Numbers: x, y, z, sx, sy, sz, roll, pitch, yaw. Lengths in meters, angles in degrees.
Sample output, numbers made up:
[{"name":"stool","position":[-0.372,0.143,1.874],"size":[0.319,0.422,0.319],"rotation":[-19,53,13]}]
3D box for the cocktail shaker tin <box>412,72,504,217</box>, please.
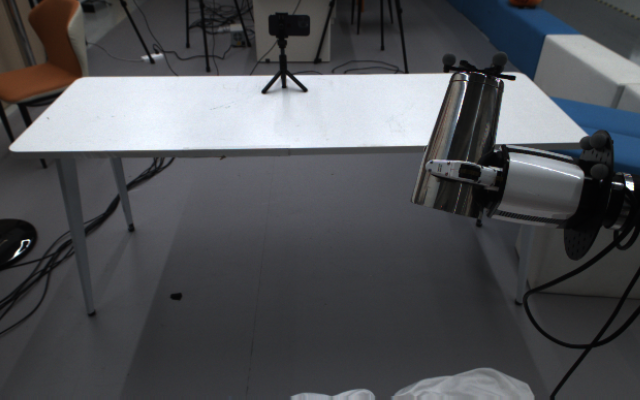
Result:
[{"name":"cocktail shaker tin","position":[0.181,-0.070,0.618],"size":[0.093,0.170,0.093],"rotation":[13,4,-1]}]
